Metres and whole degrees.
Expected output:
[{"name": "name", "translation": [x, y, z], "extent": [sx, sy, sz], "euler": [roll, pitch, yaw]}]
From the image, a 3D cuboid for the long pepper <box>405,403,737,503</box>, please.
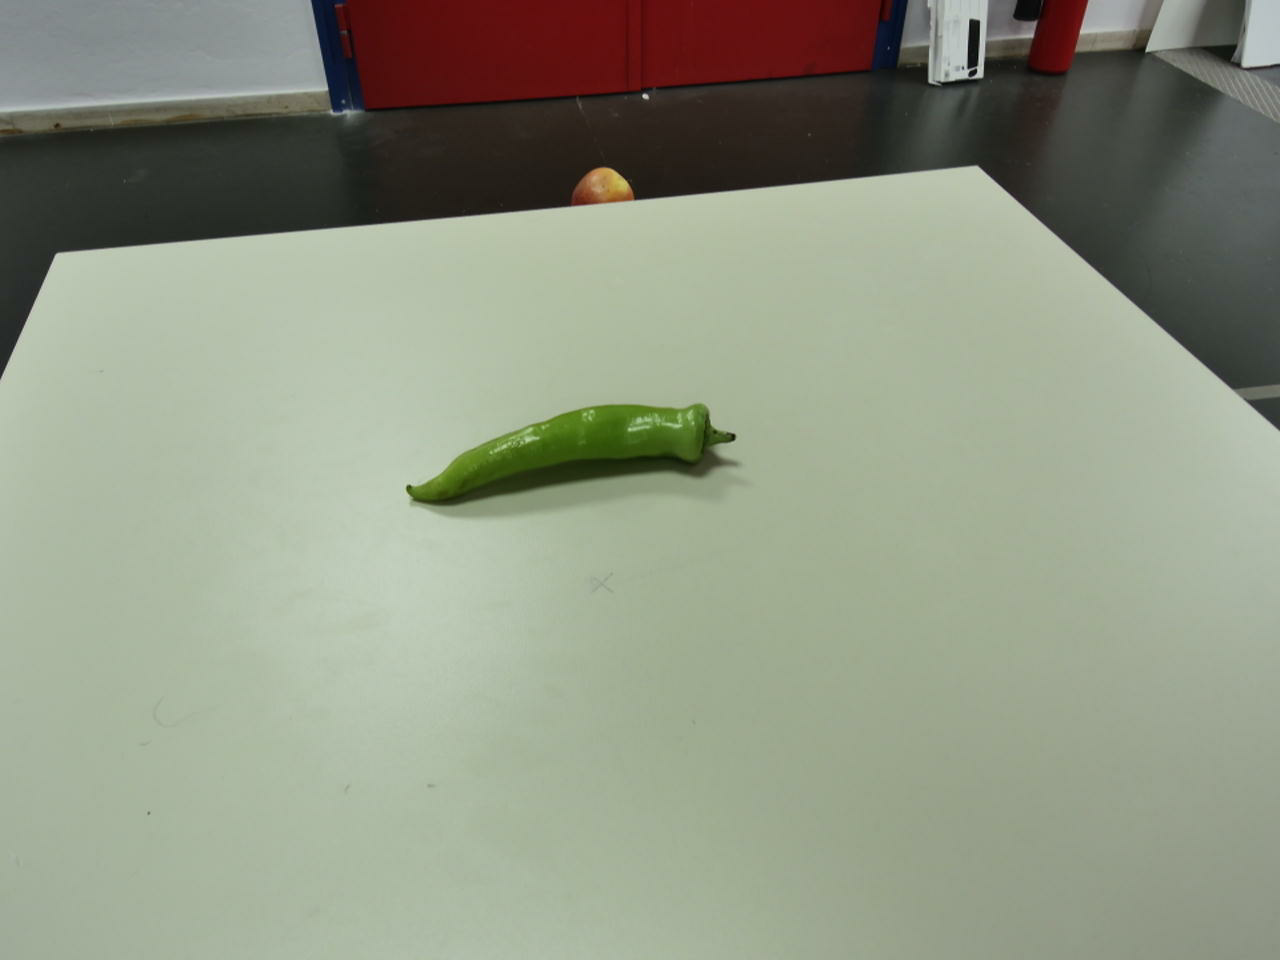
[{"name": "long pepper", "translation": [-0.041, -0.022, 0.596], "extent": [0.197, 0.038, 0.046], "euler": [-6, 40, -8]}]
